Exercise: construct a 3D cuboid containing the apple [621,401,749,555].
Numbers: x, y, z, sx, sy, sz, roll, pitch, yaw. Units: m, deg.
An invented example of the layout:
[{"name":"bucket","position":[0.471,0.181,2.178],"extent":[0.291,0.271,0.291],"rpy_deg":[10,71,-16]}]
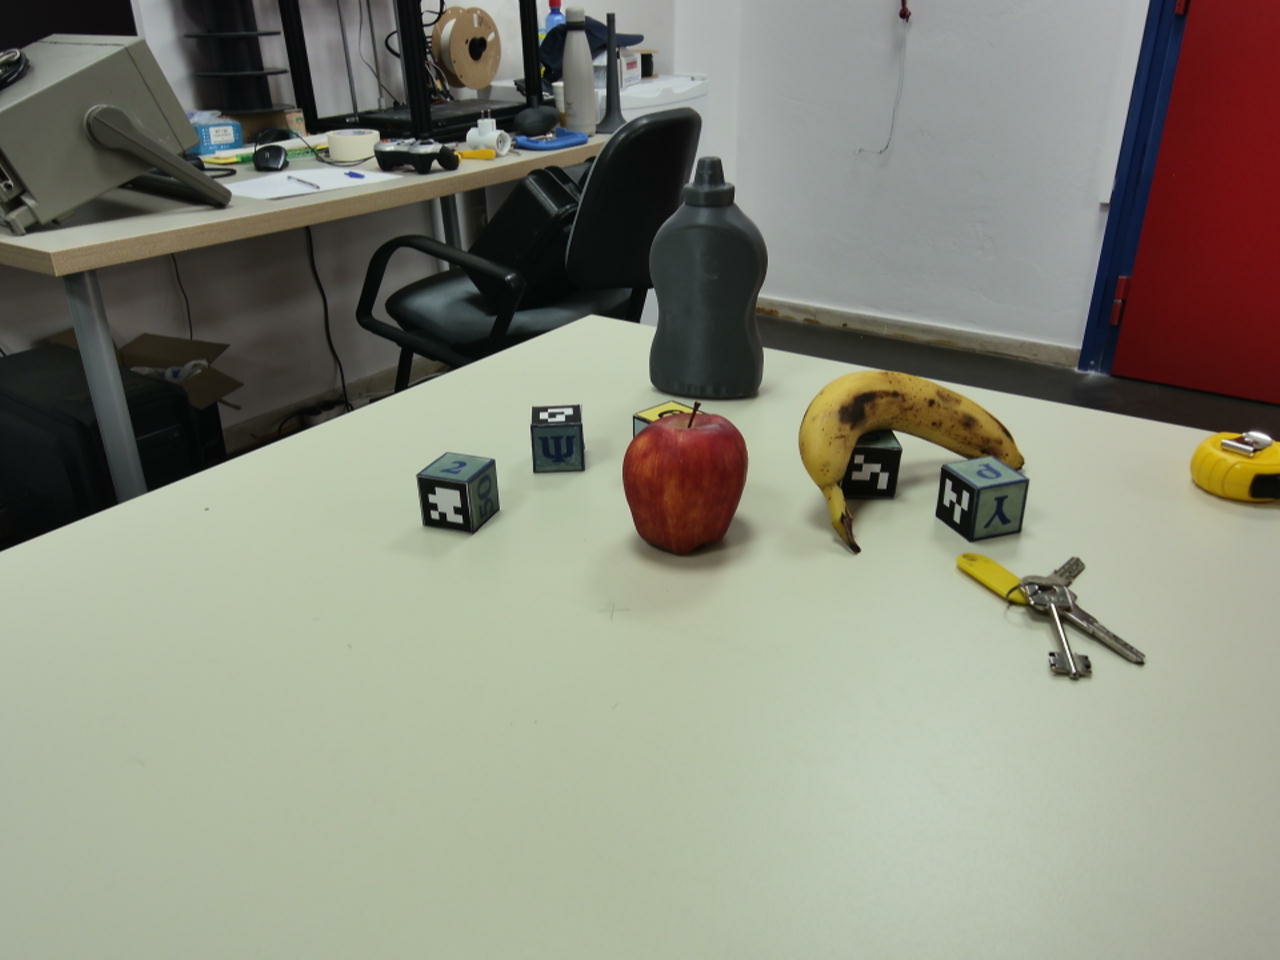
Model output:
[{"name":"apple","position":[0.028,-0.006,0.610],"extent":[0.083,0.090,0.083],"rpy_deg":[-1,25,0]}]
